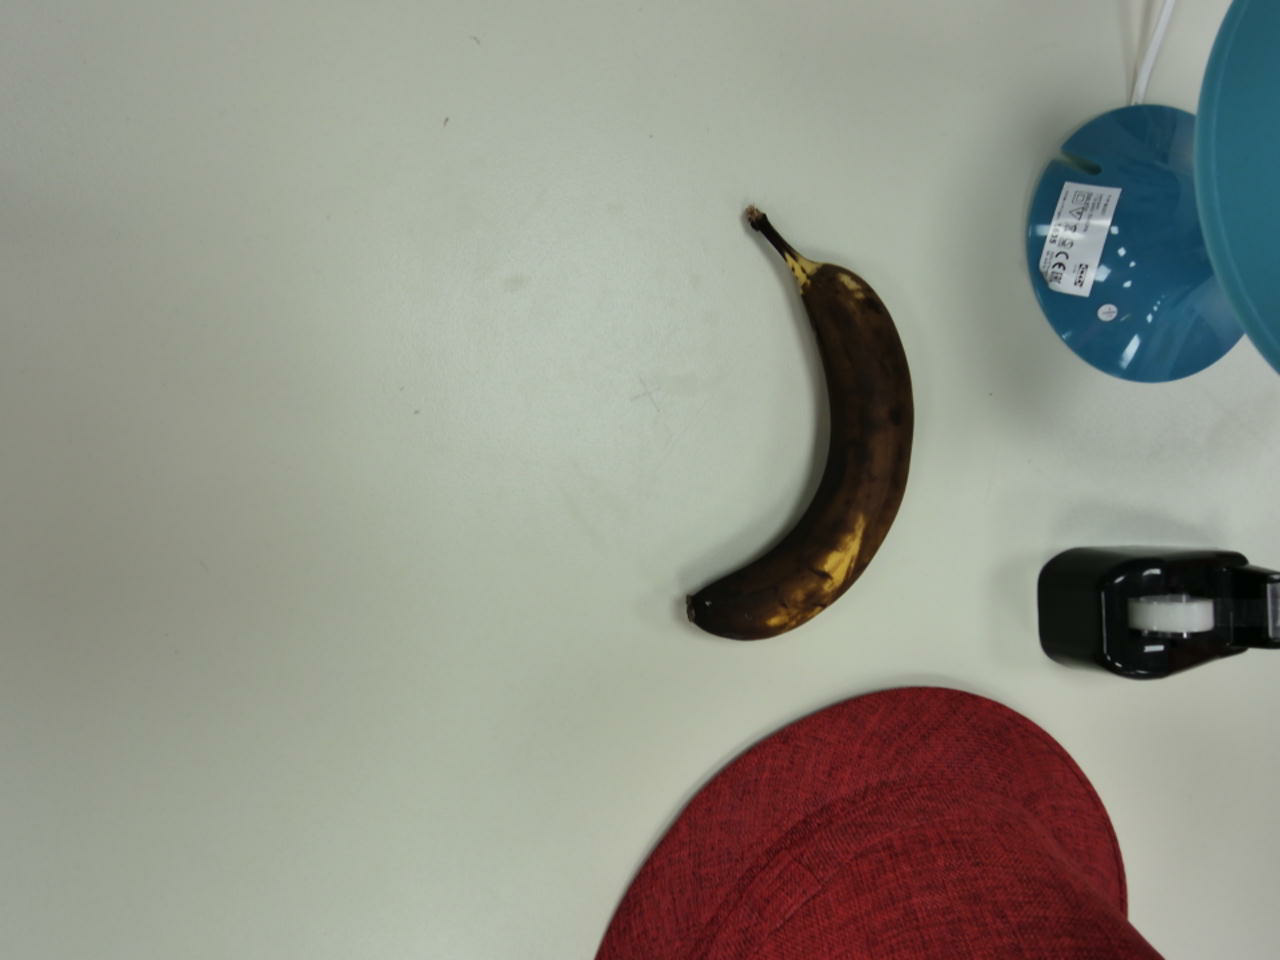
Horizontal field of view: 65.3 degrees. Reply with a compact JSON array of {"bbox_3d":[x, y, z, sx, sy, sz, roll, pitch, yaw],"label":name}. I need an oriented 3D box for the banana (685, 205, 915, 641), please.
[{"bbox_3d":[0.077,-0.020,0.438,0.091,0.034,0.188,11,88,-11],"label":"banana"}]
